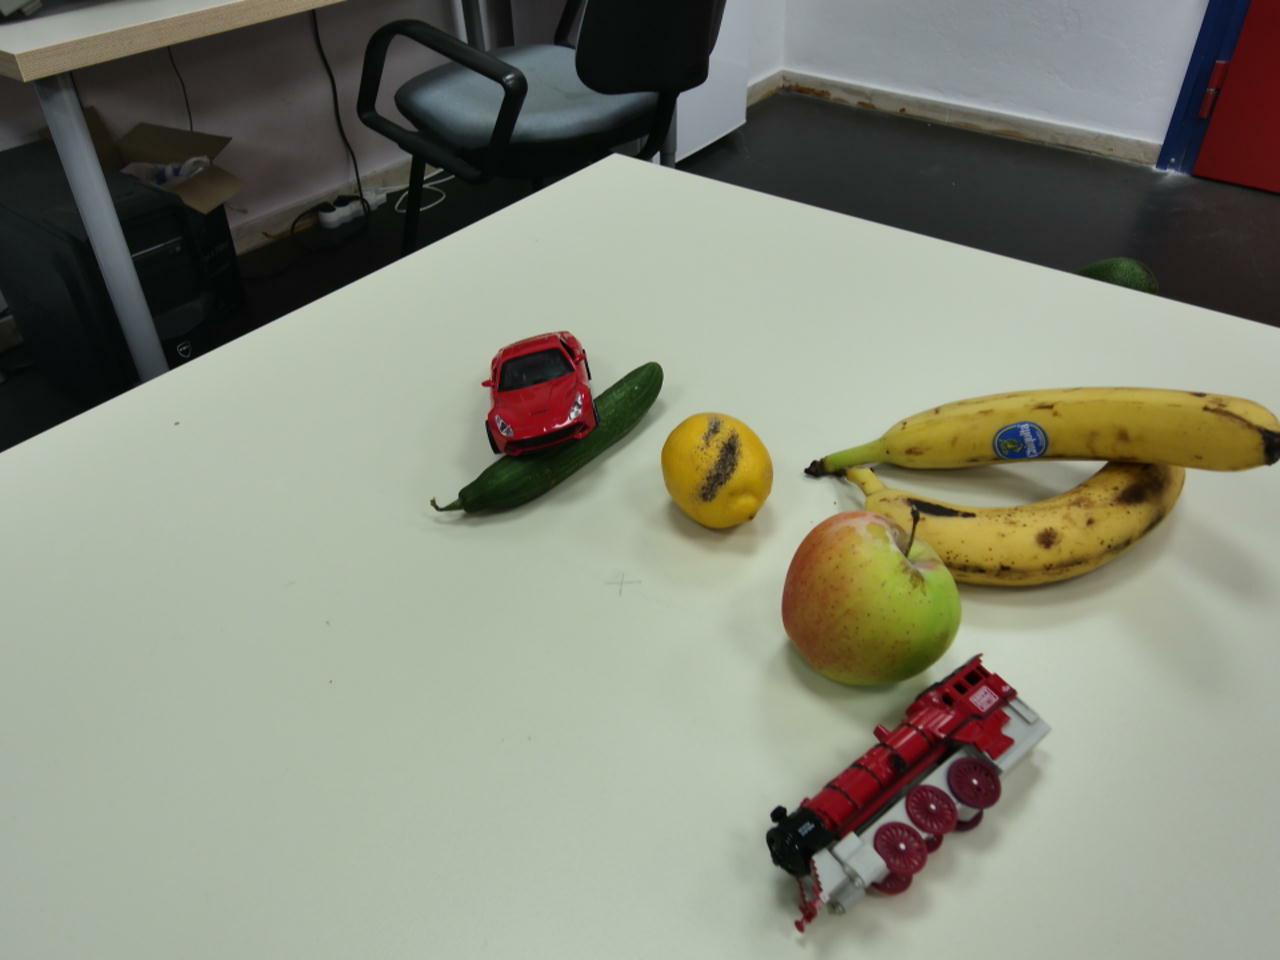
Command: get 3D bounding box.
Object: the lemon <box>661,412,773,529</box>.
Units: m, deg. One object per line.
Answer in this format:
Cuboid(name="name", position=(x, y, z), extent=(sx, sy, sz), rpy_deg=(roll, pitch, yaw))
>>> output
Cuboid(name="lemon", position=(0.041, -0.005, 0.525), extent=(0.061, 0.056, 0.058), rpy_deg=(19, 41, 24))
